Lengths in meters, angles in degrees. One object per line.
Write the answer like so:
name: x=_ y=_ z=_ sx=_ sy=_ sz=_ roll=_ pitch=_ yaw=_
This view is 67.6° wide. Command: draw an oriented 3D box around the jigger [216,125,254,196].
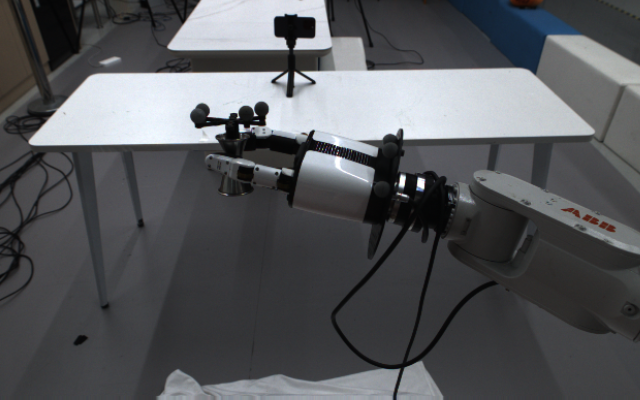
jigger: x=-0.103 y=-0.043 z=0.581 sx=0.043 sy=0.071 sz=0.043 roll=0 pitch=21 yaw=0
